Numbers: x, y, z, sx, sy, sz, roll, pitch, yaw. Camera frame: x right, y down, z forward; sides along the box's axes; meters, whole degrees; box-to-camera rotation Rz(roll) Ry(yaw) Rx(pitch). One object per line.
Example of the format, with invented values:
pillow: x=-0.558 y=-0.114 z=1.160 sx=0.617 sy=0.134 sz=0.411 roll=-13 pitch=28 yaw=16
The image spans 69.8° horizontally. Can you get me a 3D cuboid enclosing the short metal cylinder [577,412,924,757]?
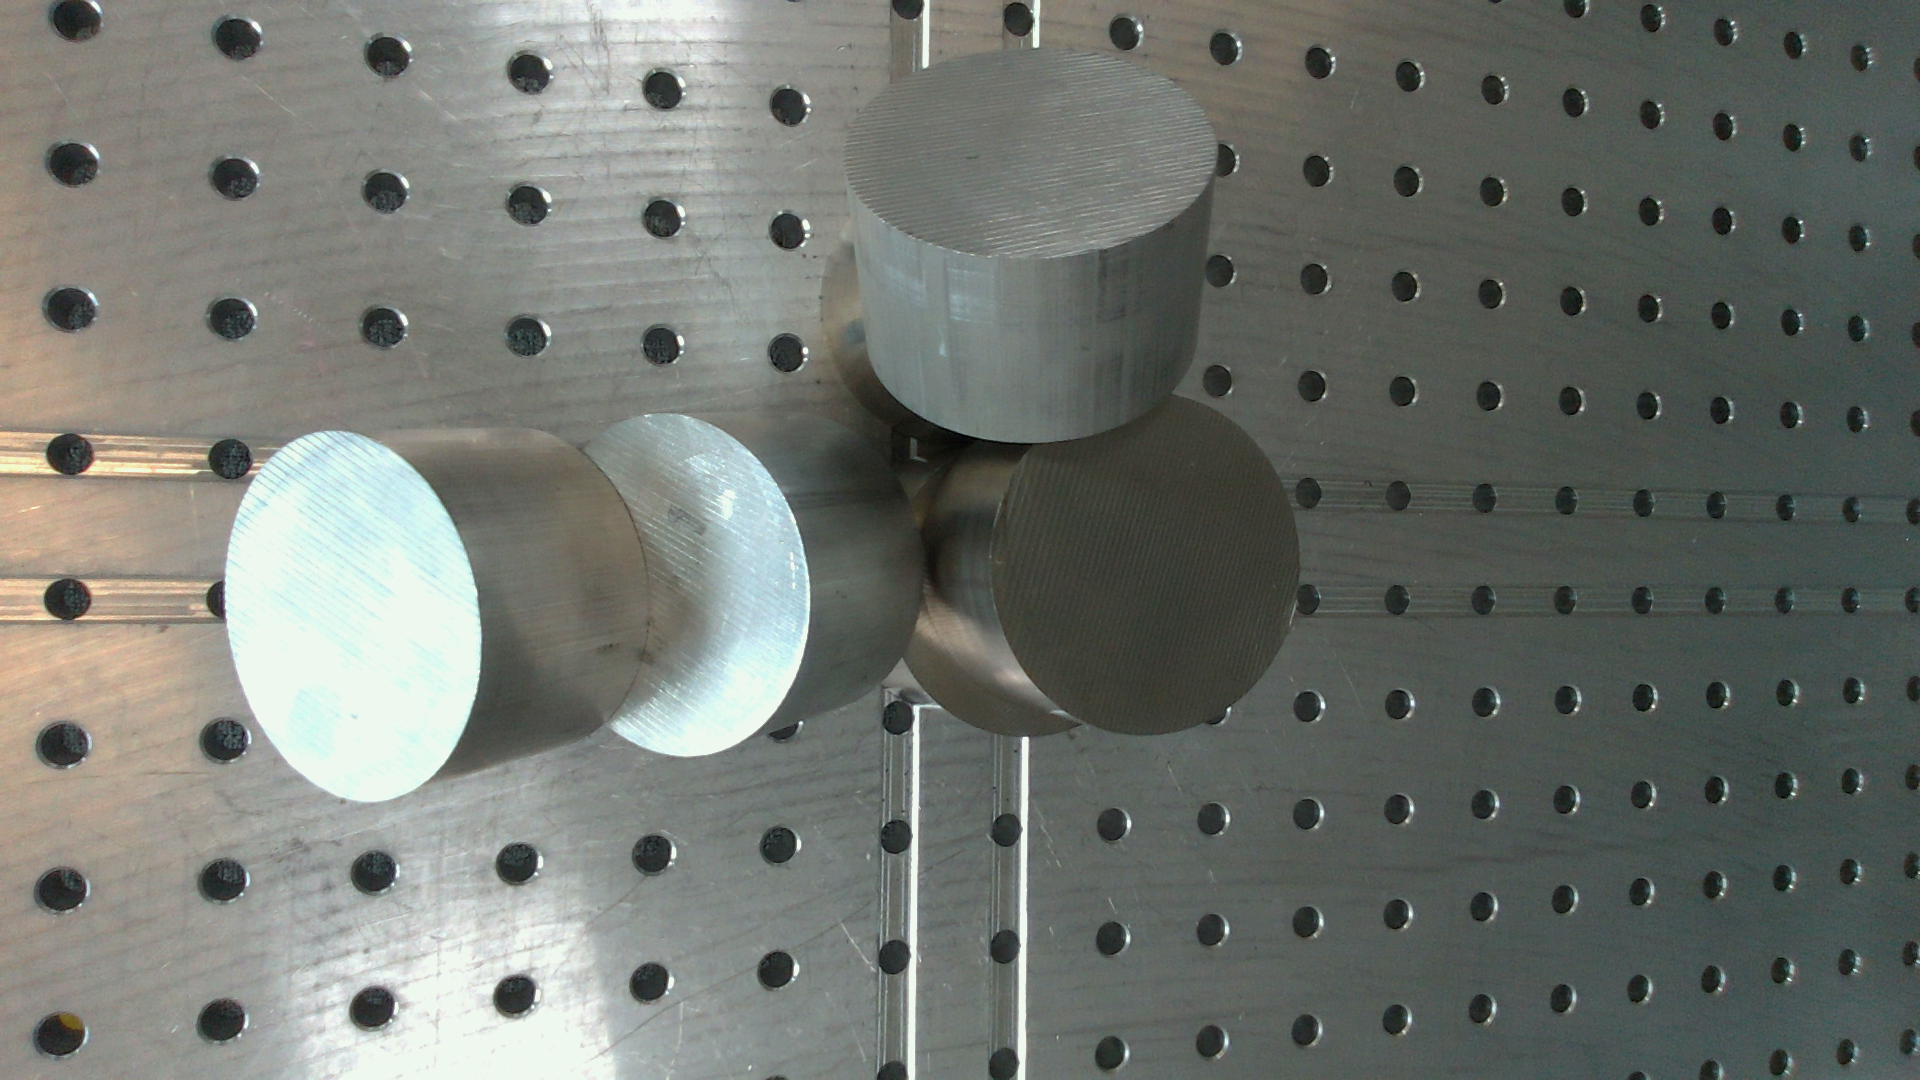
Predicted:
short metal cylinder: x=-0.056 y=0.008 z=0.339 sx=0.050 sy=0.080 sz=0.080 roll=-11 pitch=95 yaw=-61

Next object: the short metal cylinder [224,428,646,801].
short metal cylinder: x=-0.120 y=0.014 z=0.316 sx=0.050 sy=0.080 sz=0.080 roll=-12 pitch=96 yaw=-62

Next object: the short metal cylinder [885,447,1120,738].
short metal cylinder: x=0.010 y=0.012 z=0.386 sx=0.080 sy=0.050 sz=0.080 roll=0 pitch=90 yaw=-20

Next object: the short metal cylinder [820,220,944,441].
short metal cylinder: x=0.005 y=-0.069 z=0.384 sx=0.080 sy=0.050 sz=0.080 roll=0 pitch=90 yaw=-20

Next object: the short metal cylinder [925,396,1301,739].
short metal cylinder: x=0.036 y=0.006 z=0.341 sx=0.080 sy=0.050 sz=0.080 roll=0 pitch=90 yaw=-20

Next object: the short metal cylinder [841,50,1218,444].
short metal cylinder: x=0.016 y=-0.068 z=0.312 sx=0.080 sy=0.080 sz=0.050 roll=-25 pitch=142 yaw=-18
